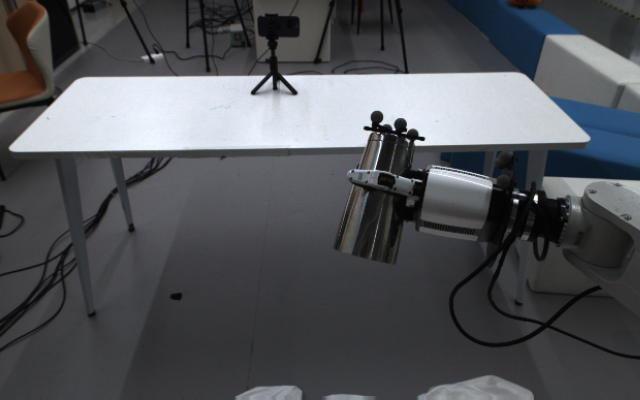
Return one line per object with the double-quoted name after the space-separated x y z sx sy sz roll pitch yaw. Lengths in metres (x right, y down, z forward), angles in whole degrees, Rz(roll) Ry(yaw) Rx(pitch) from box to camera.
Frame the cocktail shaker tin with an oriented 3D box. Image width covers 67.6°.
0.083 -0.004 0.681 0.093 0.170 0.093 14 -2 0 "cocktail shaker tin"
